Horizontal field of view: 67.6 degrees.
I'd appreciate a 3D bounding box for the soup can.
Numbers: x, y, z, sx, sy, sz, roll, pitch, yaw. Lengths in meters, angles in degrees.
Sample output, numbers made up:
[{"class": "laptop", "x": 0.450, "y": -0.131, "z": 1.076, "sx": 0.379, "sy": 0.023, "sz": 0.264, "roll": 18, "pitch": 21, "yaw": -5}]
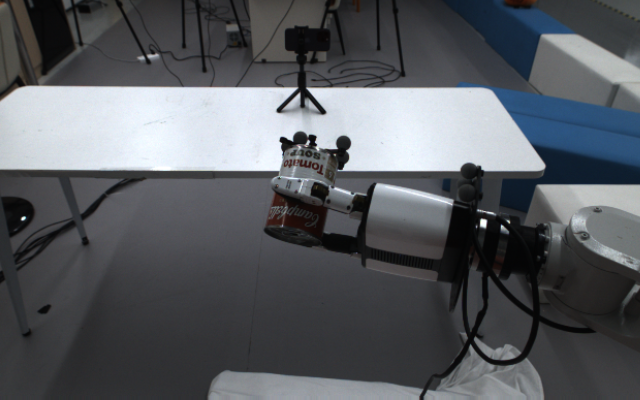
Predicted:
[{"class": "soup can", "x": -0.019, "y": -0.006, "z": 0.562, "sx": 0.067, "sy": 0.067, "sz": 0.101, "roll": 9, "pitch": 72, "yaw": 10}]
